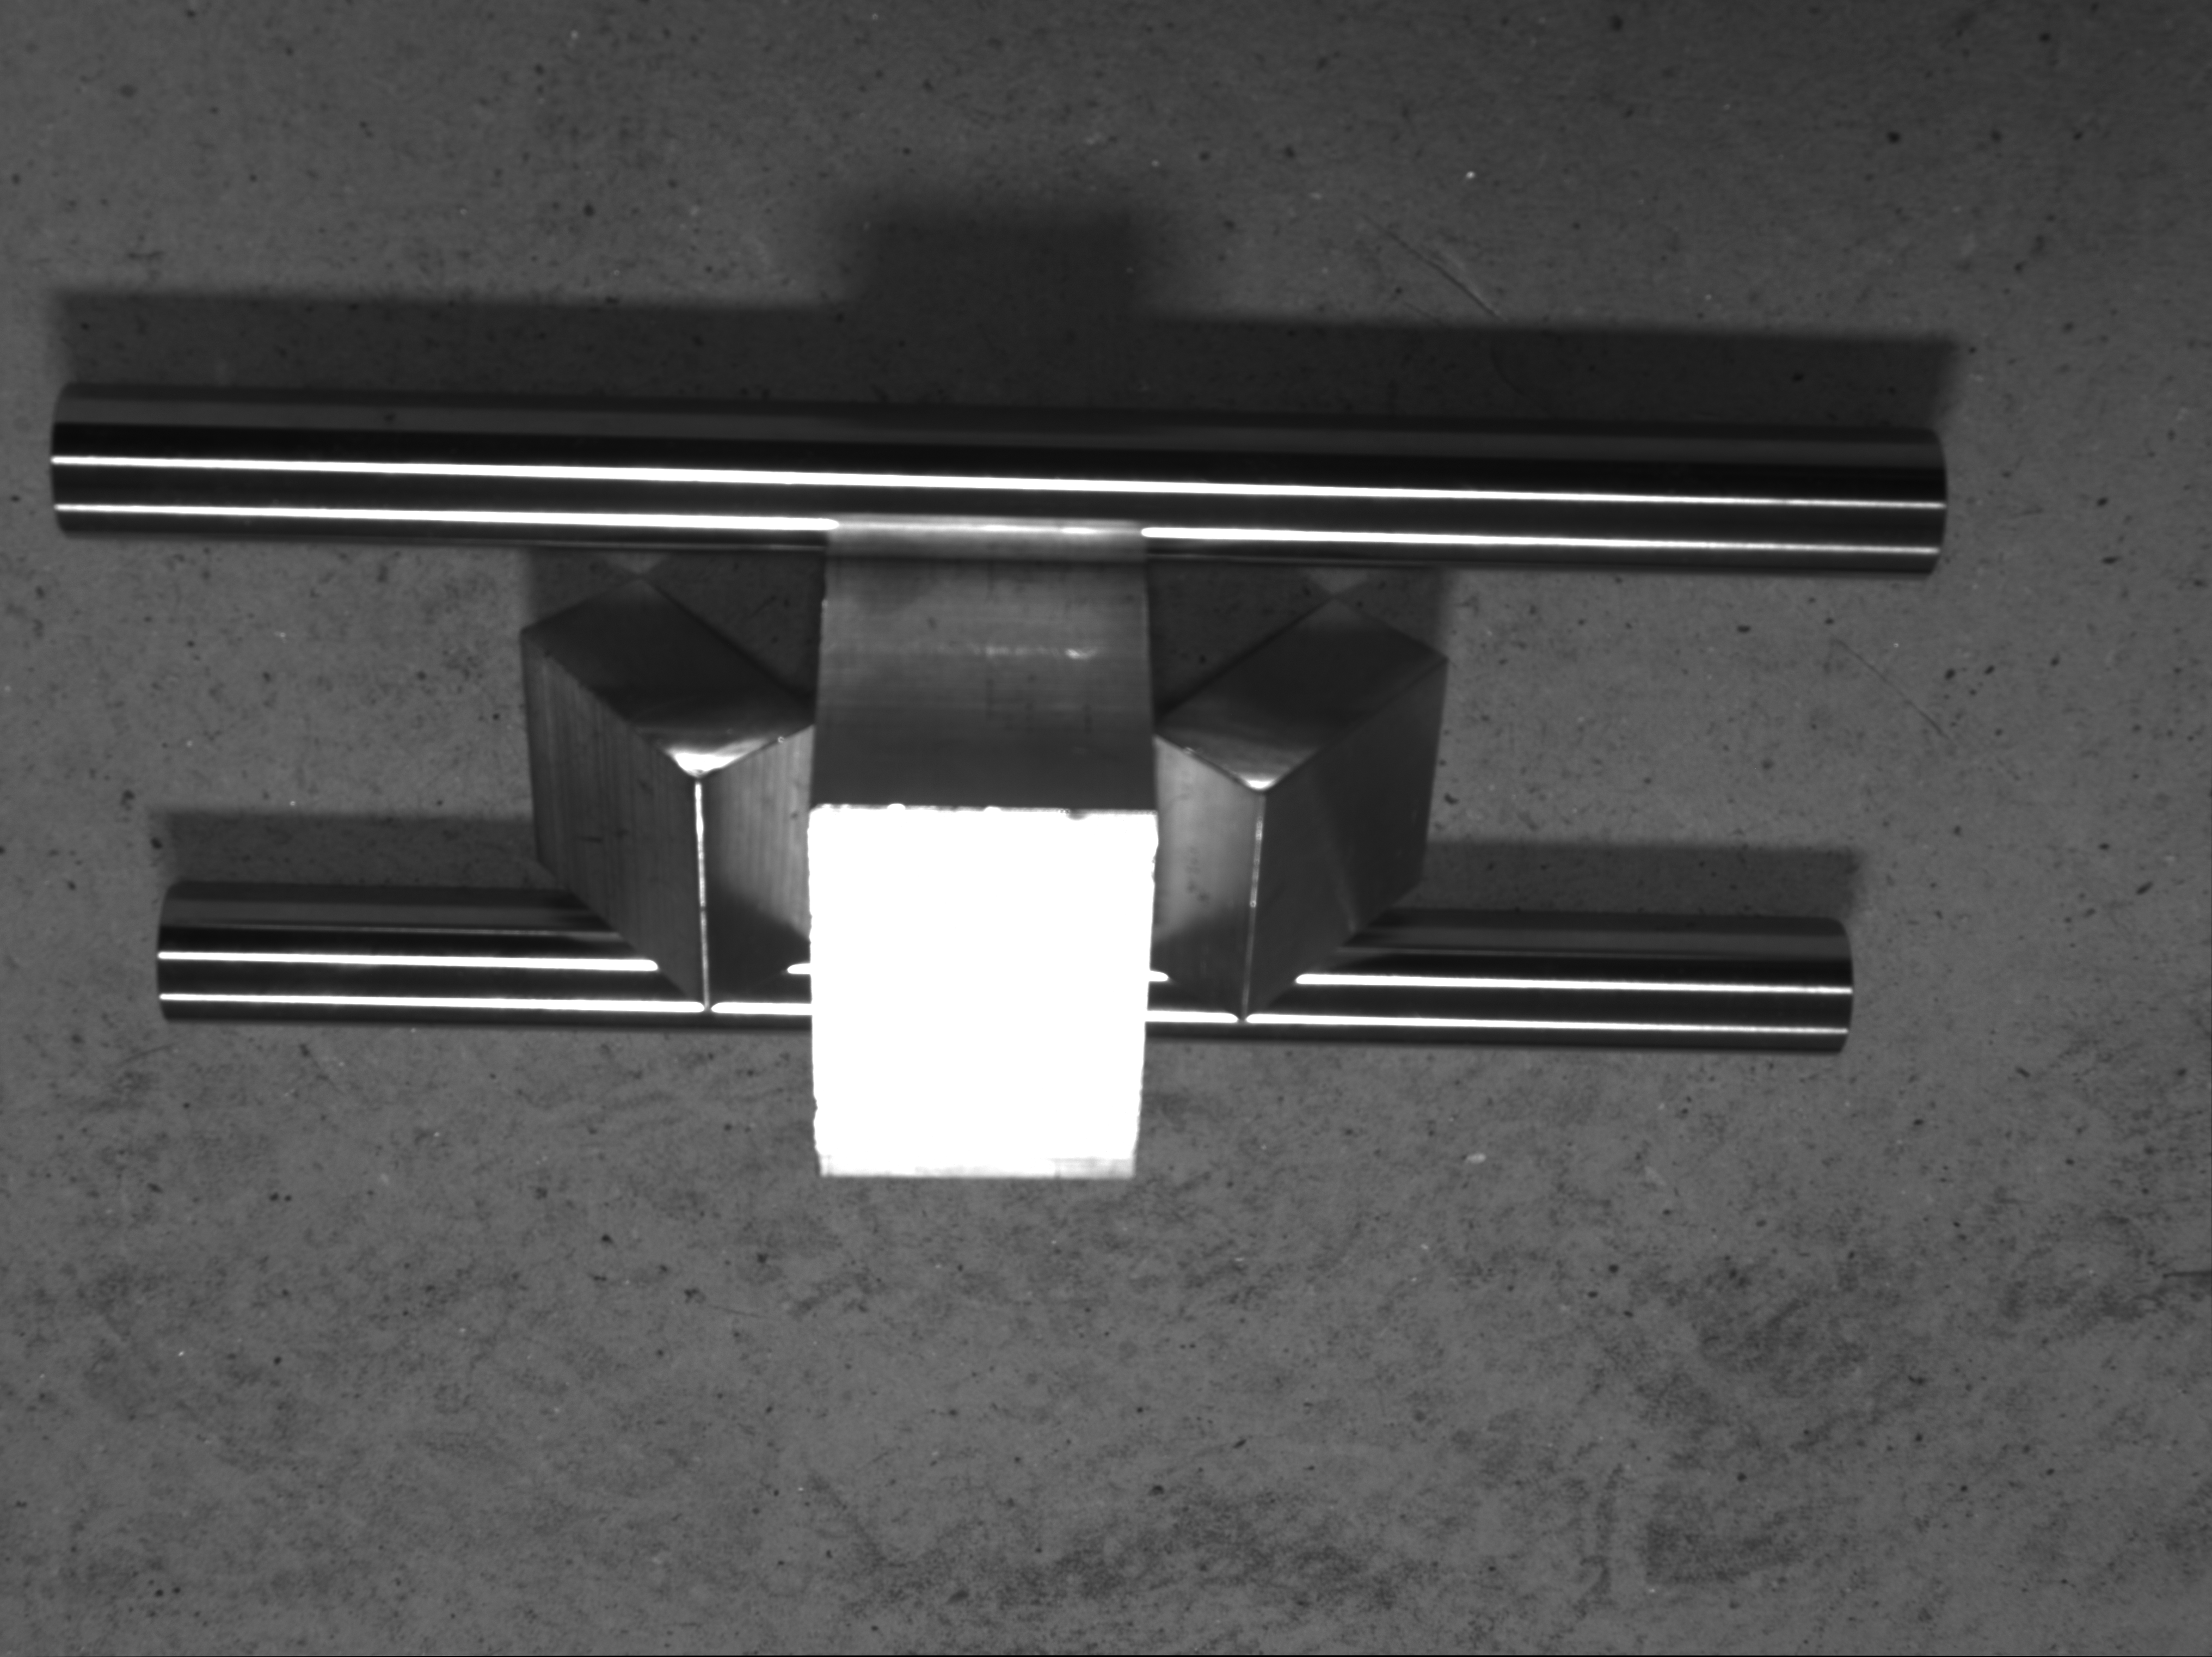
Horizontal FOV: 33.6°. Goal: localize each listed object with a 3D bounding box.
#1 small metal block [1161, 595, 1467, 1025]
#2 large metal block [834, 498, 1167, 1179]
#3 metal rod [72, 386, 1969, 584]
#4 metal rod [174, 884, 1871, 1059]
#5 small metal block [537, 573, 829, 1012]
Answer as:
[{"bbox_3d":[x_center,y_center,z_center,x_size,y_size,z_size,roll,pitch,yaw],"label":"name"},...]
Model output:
[{"bbox_3d":[0.034,-0.003,0.619,0.025,0.050,0.050,29,136,29],"label":"small metal block"},{"bbox_3d":[-0.018,0.001,0.606,0.050,0.080,0.080,1,130,-2],"label":"large metal block"},{"bbox_3d":[-0.012,-0.055,0.592,0.300,0.025,0.025,1,130,-3],"label":"metal rod"},{"bbox_3d":[-0.014,0.026,0.660,0.300,0.025,0.025,1,130,-3],"label":"metal rod"},{"bbox_3d":[-0.069,-0.006,0.613,0.025,0.050,0.050,-28,139,-31],"label":"small metal block"}]
